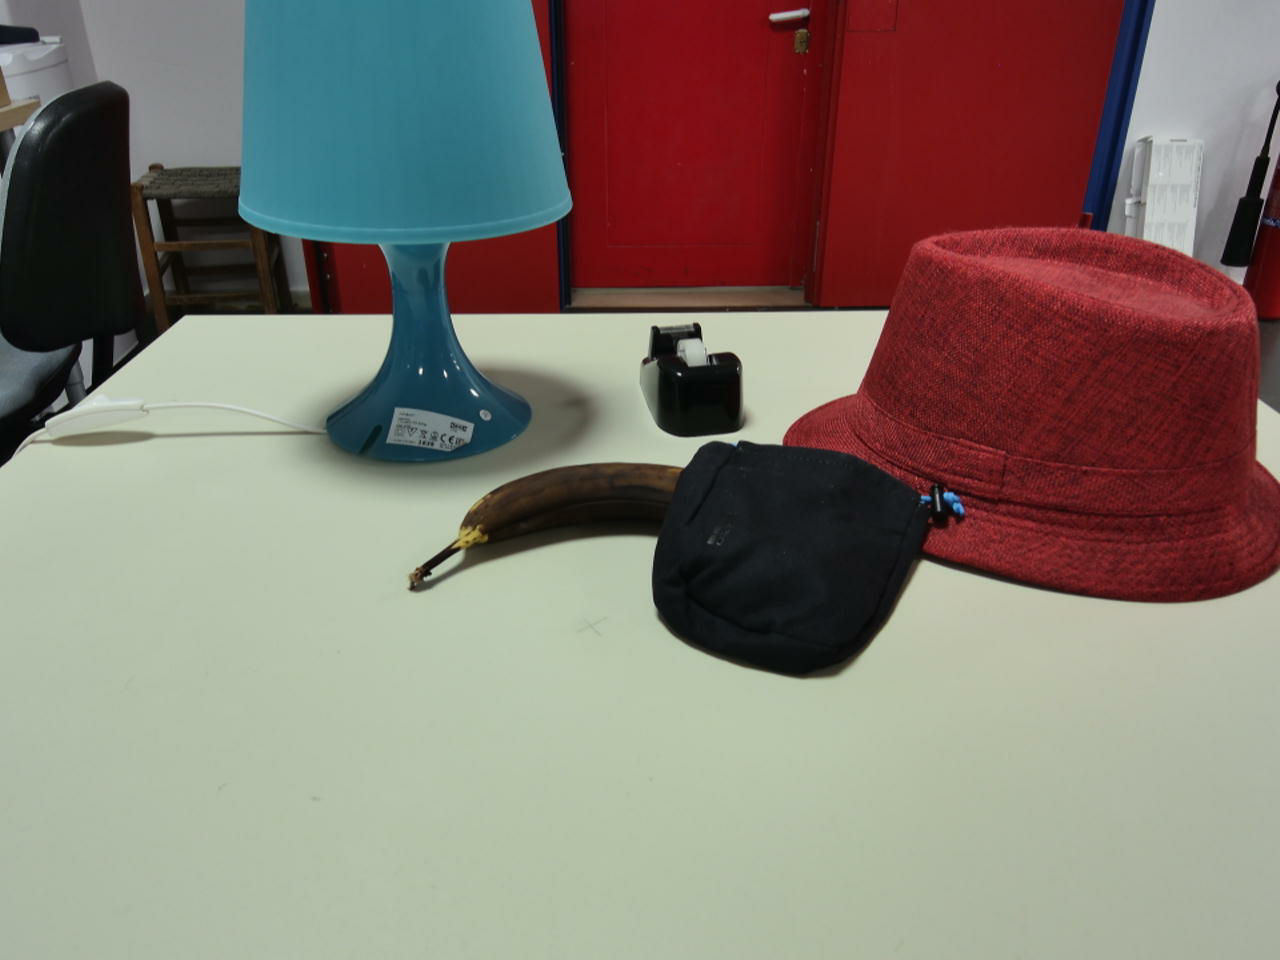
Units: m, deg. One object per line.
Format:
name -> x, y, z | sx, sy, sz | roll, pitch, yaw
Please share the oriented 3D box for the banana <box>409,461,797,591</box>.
banana -> -0.017, 0.018, 0.514 | 0.188, 0.034, 0.091 | 0, 26, 1
